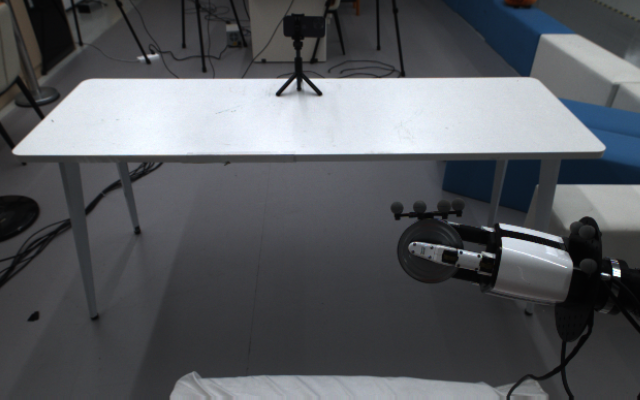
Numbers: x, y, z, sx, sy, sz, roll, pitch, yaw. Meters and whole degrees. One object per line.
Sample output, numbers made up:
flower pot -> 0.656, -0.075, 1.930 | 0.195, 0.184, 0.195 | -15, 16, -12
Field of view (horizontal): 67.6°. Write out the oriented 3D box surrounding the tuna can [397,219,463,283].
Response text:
tuna can -> 0.149, 0.065, 0.647 | 0.085, 0.085, 0.034 | 11, 2, 12
